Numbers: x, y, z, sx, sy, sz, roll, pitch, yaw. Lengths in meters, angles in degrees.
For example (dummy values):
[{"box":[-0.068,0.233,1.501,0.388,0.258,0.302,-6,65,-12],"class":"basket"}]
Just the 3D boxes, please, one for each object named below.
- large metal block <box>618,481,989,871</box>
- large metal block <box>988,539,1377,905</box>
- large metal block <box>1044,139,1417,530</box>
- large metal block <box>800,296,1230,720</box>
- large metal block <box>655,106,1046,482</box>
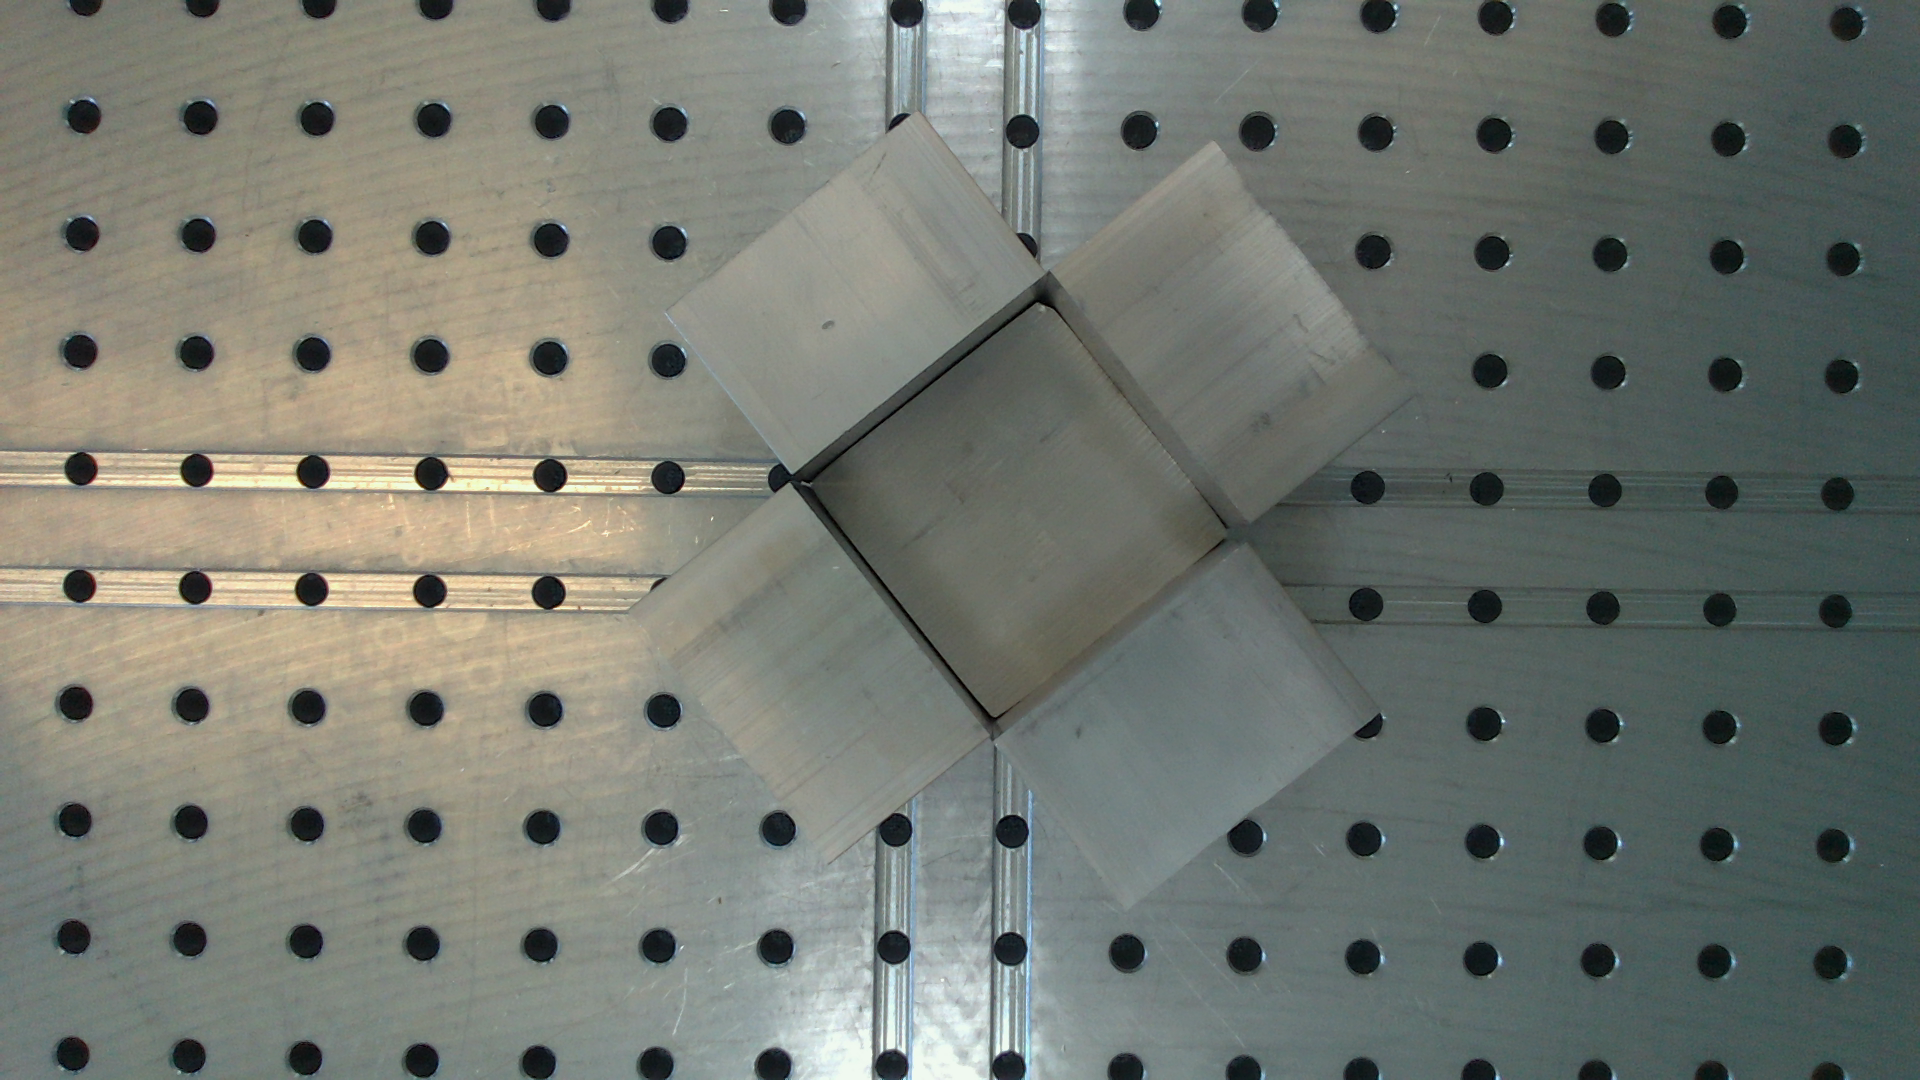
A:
[{"box":[-0.037,0.032,0.370,0.050,0.080,0.080,-39,91,0],"class":"large metal block"},{"box":[0.054,0.044,0.372,0.080,0.080,0.050,-37,90,0],"class":"large metal block"},{"box":[0.065,-0.050,0.370,0.050,0.080,0.080,-39,91,0],"class":"large metal block"},{"box":[0.015,-0.008,0.384,0.080,0.050,0.080,-38,89,2],"class":"large metal block"},{"box":[-0.026,-0.060,0.370,0.080,0.080,0.050,-39,90,0],"class":"large metal block"}]
